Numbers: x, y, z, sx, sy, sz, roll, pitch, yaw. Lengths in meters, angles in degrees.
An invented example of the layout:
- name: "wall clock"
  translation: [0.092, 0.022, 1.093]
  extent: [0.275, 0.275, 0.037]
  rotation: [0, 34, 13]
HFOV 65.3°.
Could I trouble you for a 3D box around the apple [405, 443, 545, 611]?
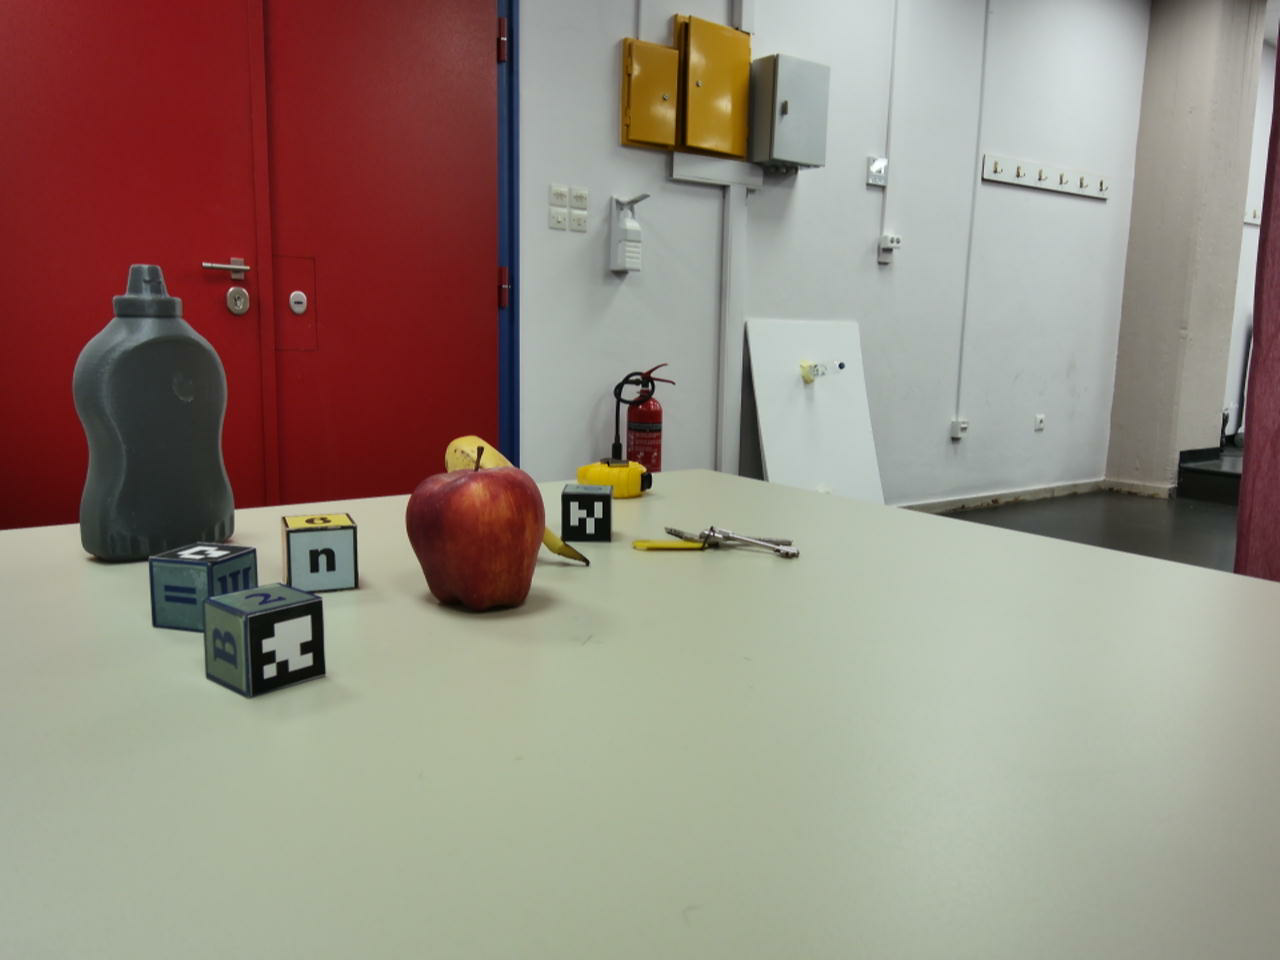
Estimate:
- name: "apple"
  translation: [-0.094, 0.026, 0.572]
  extent: [0.083, 0.090, 0.083]
  rotation: [0, 7, 0]
